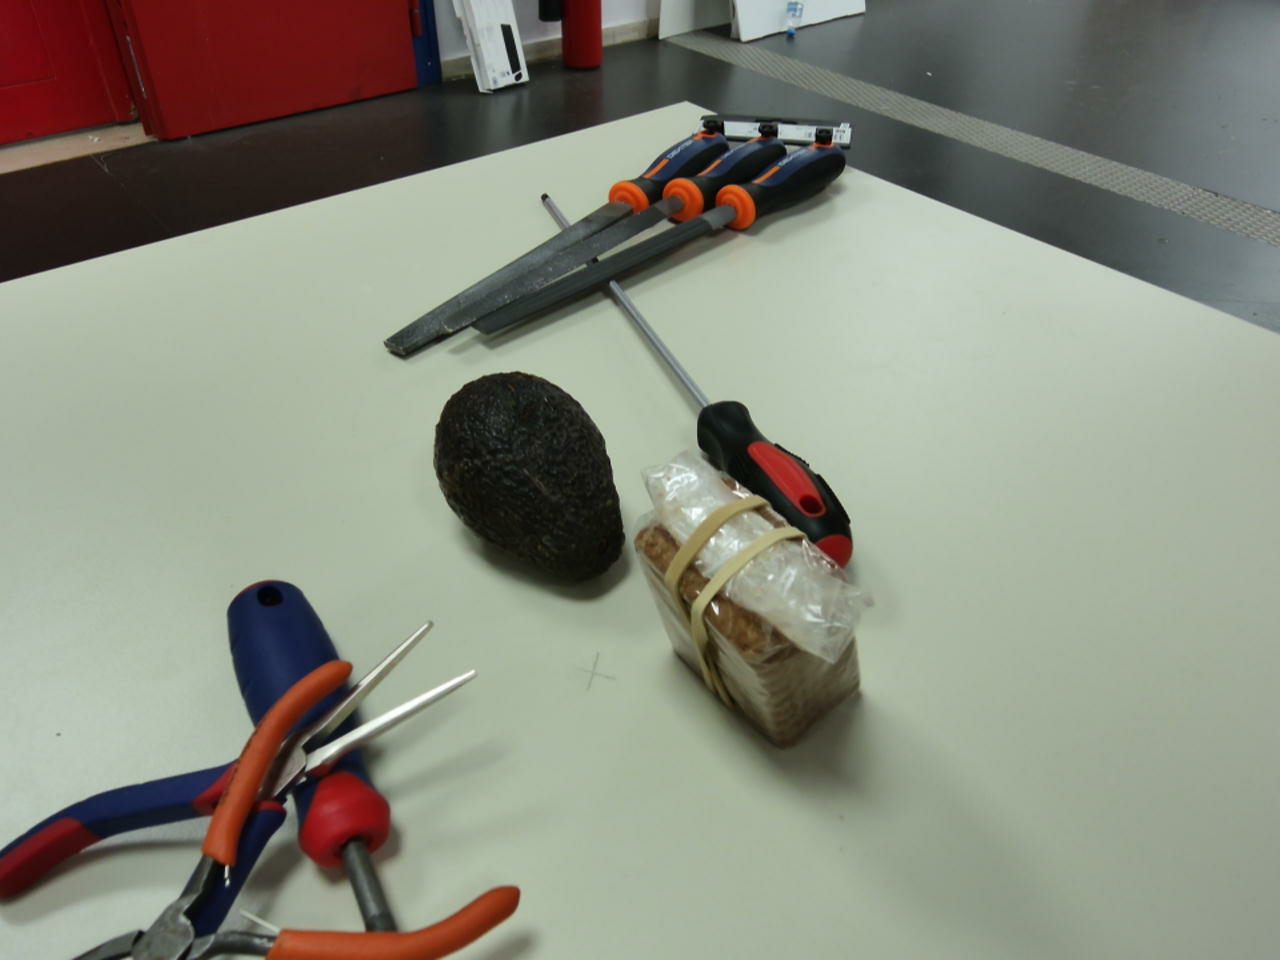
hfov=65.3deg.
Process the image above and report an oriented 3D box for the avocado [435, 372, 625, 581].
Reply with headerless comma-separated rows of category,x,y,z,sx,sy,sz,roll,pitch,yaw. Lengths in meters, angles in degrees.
avocado,-0.047,-0.004,0.405,0.070,0.069,0.090,-9,38,-12
